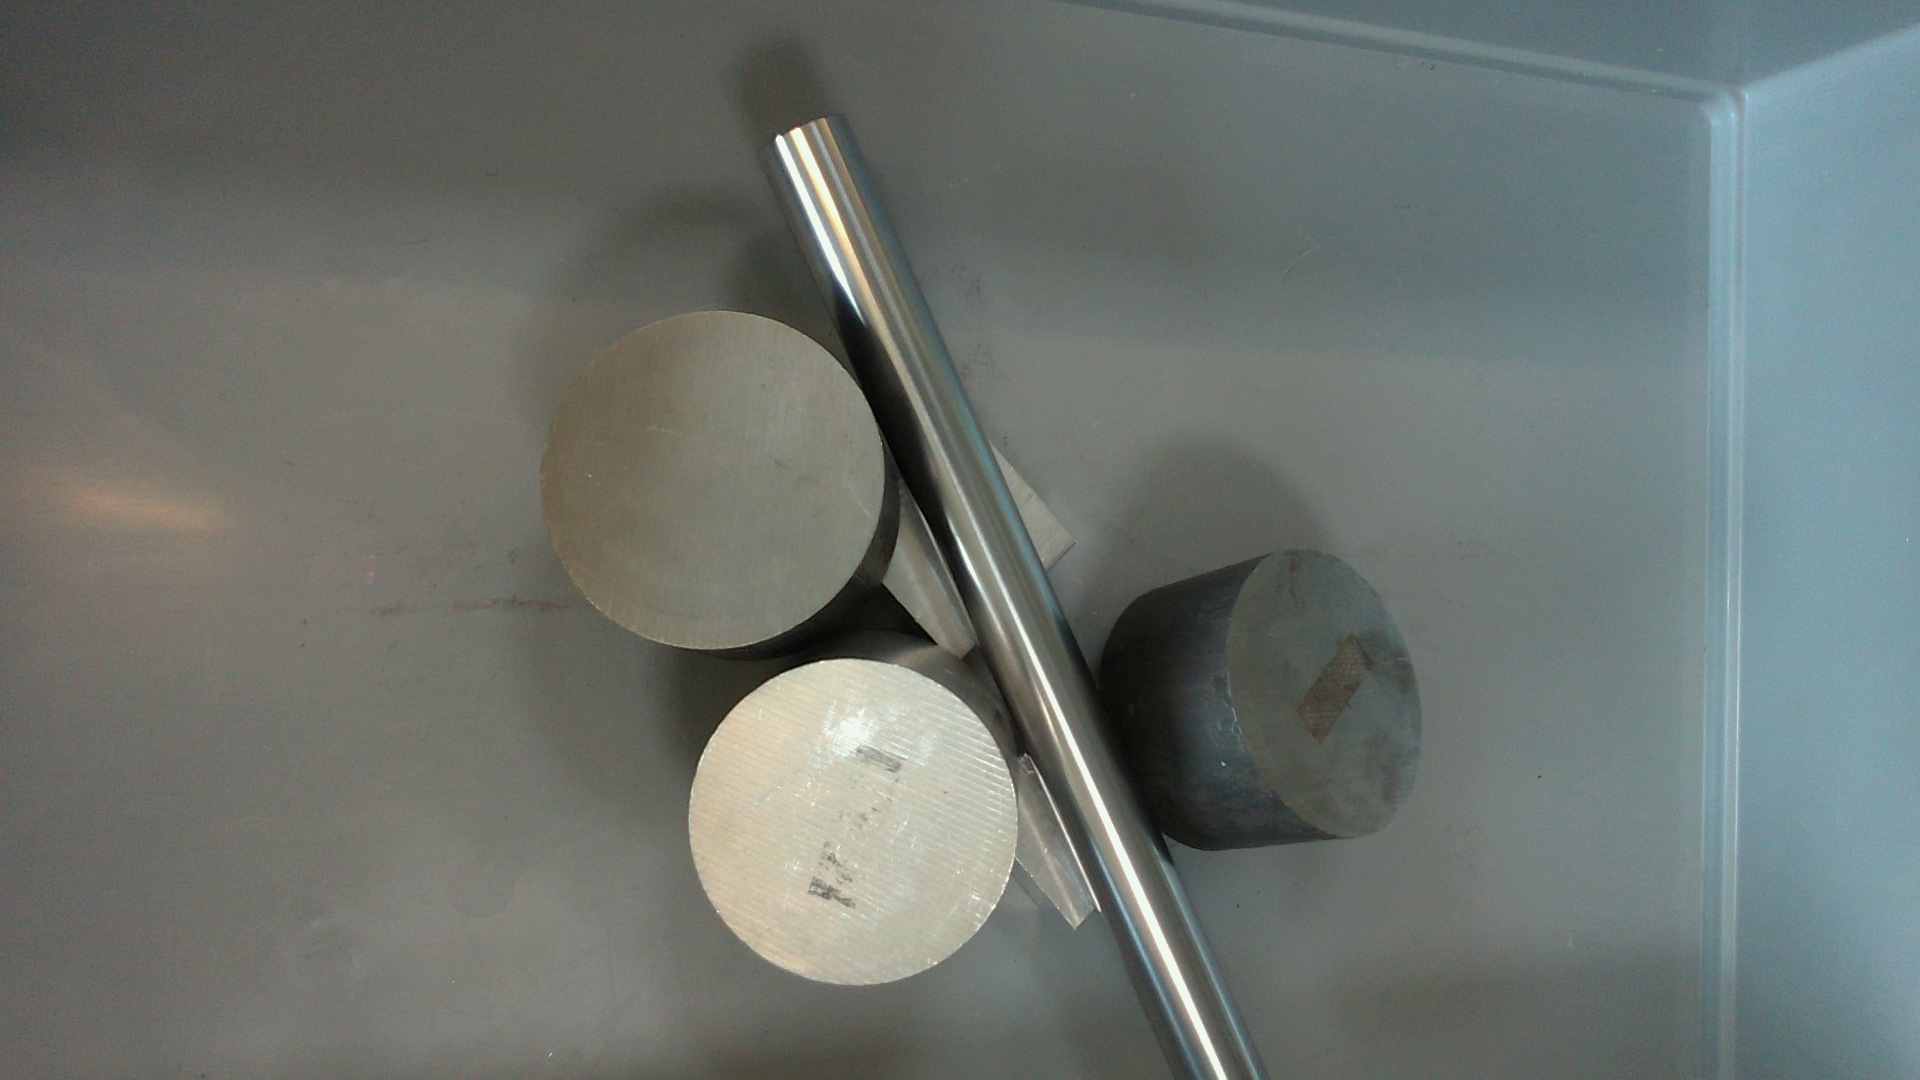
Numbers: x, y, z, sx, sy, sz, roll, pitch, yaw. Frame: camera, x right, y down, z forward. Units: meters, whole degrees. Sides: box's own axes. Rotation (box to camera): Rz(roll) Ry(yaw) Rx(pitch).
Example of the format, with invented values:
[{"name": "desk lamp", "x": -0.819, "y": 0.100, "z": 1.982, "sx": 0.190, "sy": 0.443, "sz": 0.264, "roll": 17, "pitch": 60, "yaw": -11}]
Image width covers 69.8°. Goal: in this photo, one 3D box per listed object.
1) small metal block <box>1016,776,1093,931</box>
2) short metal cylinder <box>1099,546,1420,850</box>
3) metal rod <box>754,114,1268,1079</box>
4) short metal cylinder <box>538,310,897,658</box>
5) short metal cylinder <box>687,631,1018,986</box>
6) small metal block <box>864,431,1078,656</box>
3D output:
[{"name": "small metal block", "x": 0.031, "y": 0.076, "z": 0.404, "sx": 0.050, "sy": 0.025, "sz": 0.050, "roll": -42, "pitch": 103, "yaw": -15}, {"name": "short metal cylinder", "x": 0.087, "y": 0.047, "z": 0.397, "sx": 0.080, "sy": 0.050, "sz": 0.080, "roll": 13, "pitch": 67, "yaw": -35}, {"name": "metal rod", "x": 0.020, "y": 0.032, "z": 0.372, "sx": 0.025, "sy": 0.025, "sz": 0.300, "roll": -27, "pitch": 99, "yaw": -18}, {"name": "short metal cylinder", "x": -0.057, "y": -0.011, "z": 0.343, "sx": 0.080, "sy": 0.050, "sz": 0.080, "roll": 0, "pitch": 82, "yaw": 1}, {"name": "short metal cylinder", "x": -0.025, "y": 0.067, "z": 0.356, "sx": 0.080, "sy": 0.050, "sz": 0.080, "roll": 0, "pitch": 94, "yaw": 3}, {"name": "small metal block", "x": -0.004, "y": -0.001, "z": 0.391, "sx": 0.050, "sy": 0.025, "sz": 0.050, "roll": -45, "pitch": 104, "yaw": -14}]
